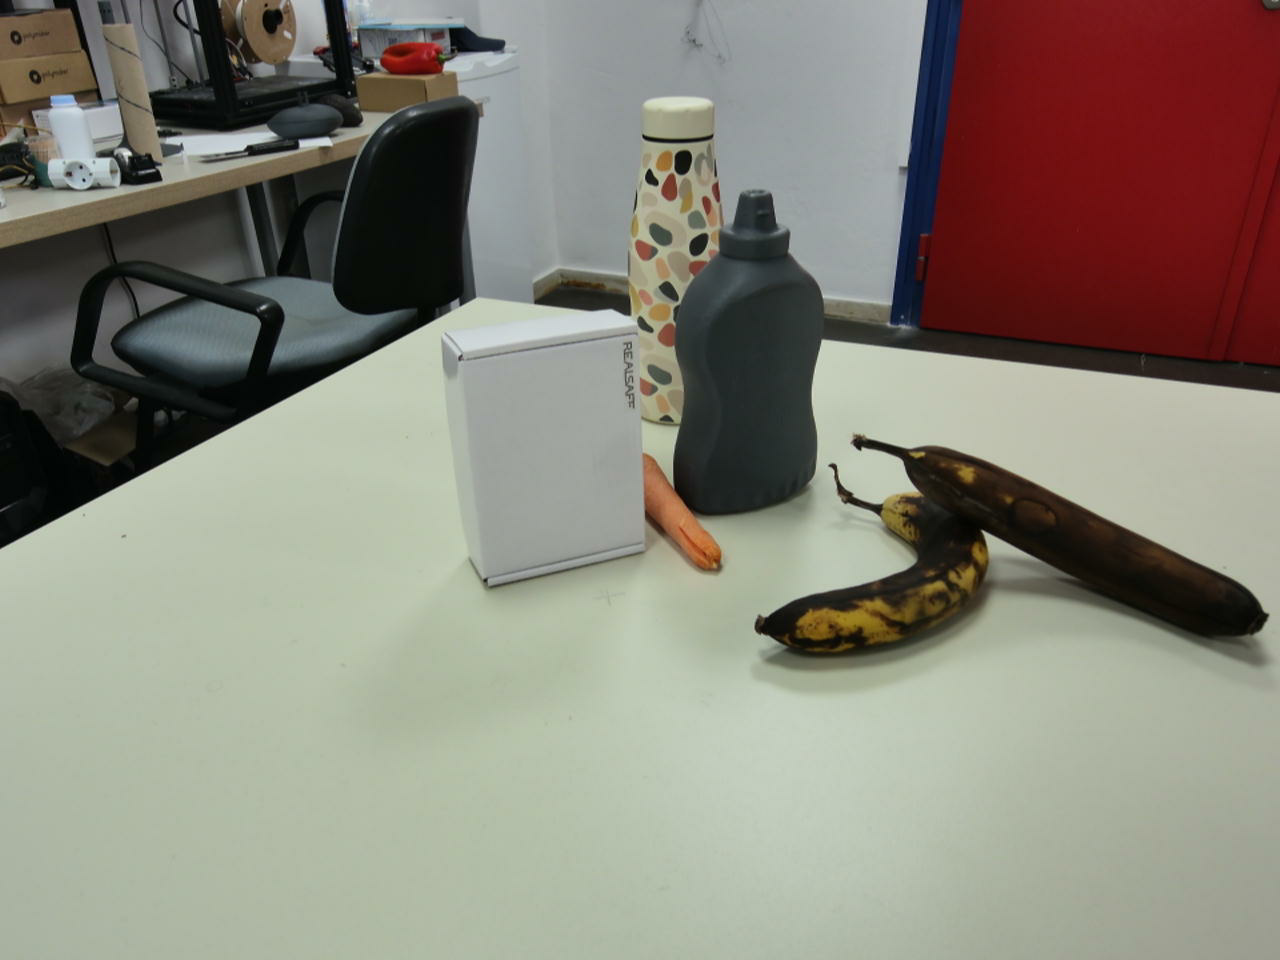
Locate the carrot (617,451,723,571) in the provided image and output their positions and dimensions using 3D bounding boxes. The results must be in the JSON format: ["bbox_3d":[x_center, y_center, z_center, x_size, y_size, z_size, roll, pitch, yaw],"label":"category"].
[{"bbox_3d":[0.017,0.016,0.647,0.030,0.032,0.136,-10,27,-19],"label":"carrot"}]
